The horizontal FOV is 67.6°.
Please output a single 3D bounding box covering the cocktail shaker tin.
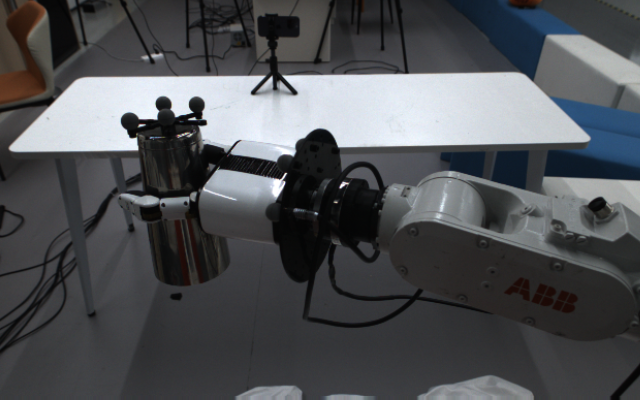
[{"bbox_3d":[-0.156,0.002,0.555,0.093,0.170,0.093,-2,26,1],"label":"cocktail shaker tin"}]
